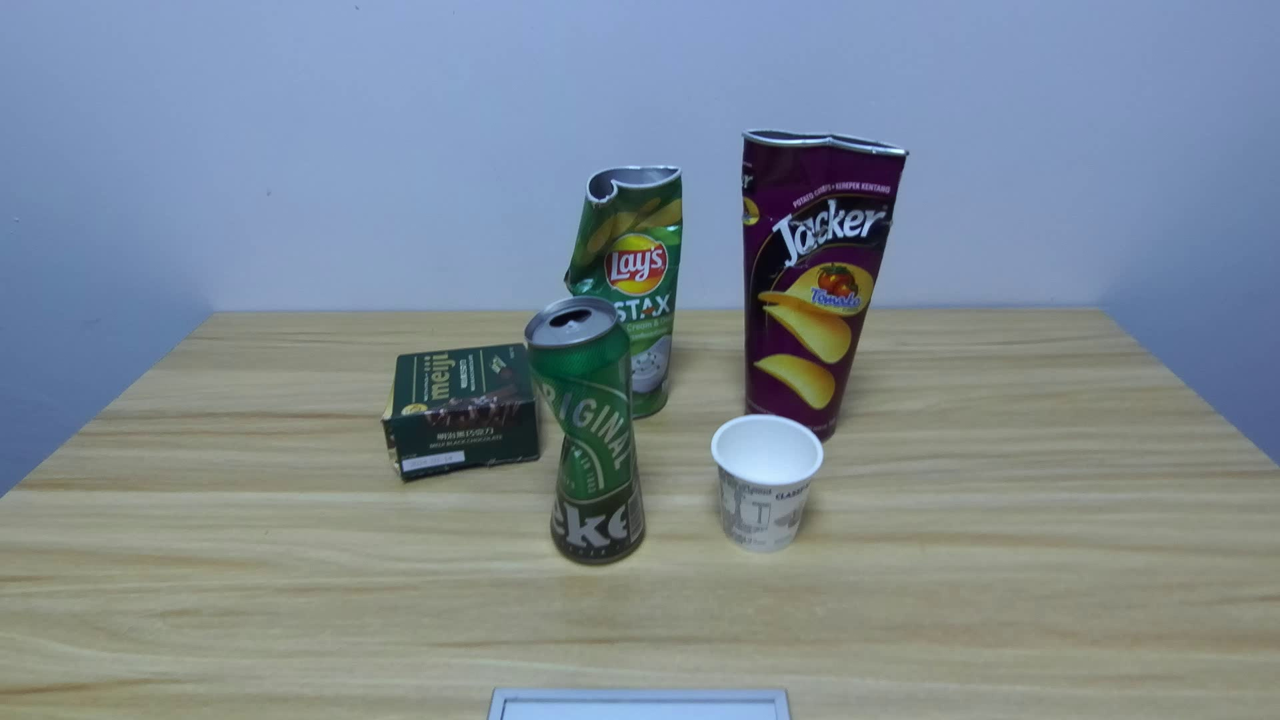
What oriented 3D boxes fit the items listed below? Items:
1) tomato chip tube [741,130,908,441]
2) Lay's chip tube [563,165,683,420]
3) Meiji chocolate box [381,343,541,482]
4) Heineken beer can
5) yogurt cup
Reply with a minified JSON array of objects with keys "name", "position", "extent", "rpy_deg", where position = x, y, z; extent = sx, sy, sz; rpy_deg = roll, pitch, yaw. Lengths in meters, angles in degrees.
[{"name":"tomato chip tube","position":[0.122,-0.048,0.531],"extent":[0.078,0.236,0.090],"rpy_deg":[-11,35,-14]},{"name":"Lay's chip tube","position":[-0.011,-0.051,0.571],"extent":[0.069,0.201,0.077],"rpy_deg":[14,37,22]},{"name":"Meiji chocolate box","position":[-0.144,0.037,0.584],"extent":[0.123,0.058,0.115],"rpy_deg":[-8,30,-12]},{"name":"Heineken beer can","position":[-0.033,0.049,0.448],"extent":[0.069,0.168,0.068],"rpy_deg":[21,39,37]},{"name":"yogurt cup","position":[0.083,0.085,0.474],"extent":[0.072,0.068,0.072],"rpy_deg":[-1,33,1]}]
